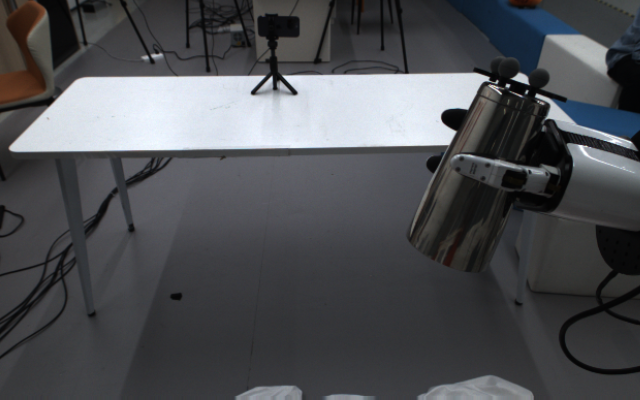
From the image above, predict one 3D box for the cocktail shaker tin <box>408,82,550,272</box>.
[{"bbox_3d":[0.162,-0.025,0.486,0.093,0.170,0.093,16,21,-6],"label":"cocktail shaker tin"}]
